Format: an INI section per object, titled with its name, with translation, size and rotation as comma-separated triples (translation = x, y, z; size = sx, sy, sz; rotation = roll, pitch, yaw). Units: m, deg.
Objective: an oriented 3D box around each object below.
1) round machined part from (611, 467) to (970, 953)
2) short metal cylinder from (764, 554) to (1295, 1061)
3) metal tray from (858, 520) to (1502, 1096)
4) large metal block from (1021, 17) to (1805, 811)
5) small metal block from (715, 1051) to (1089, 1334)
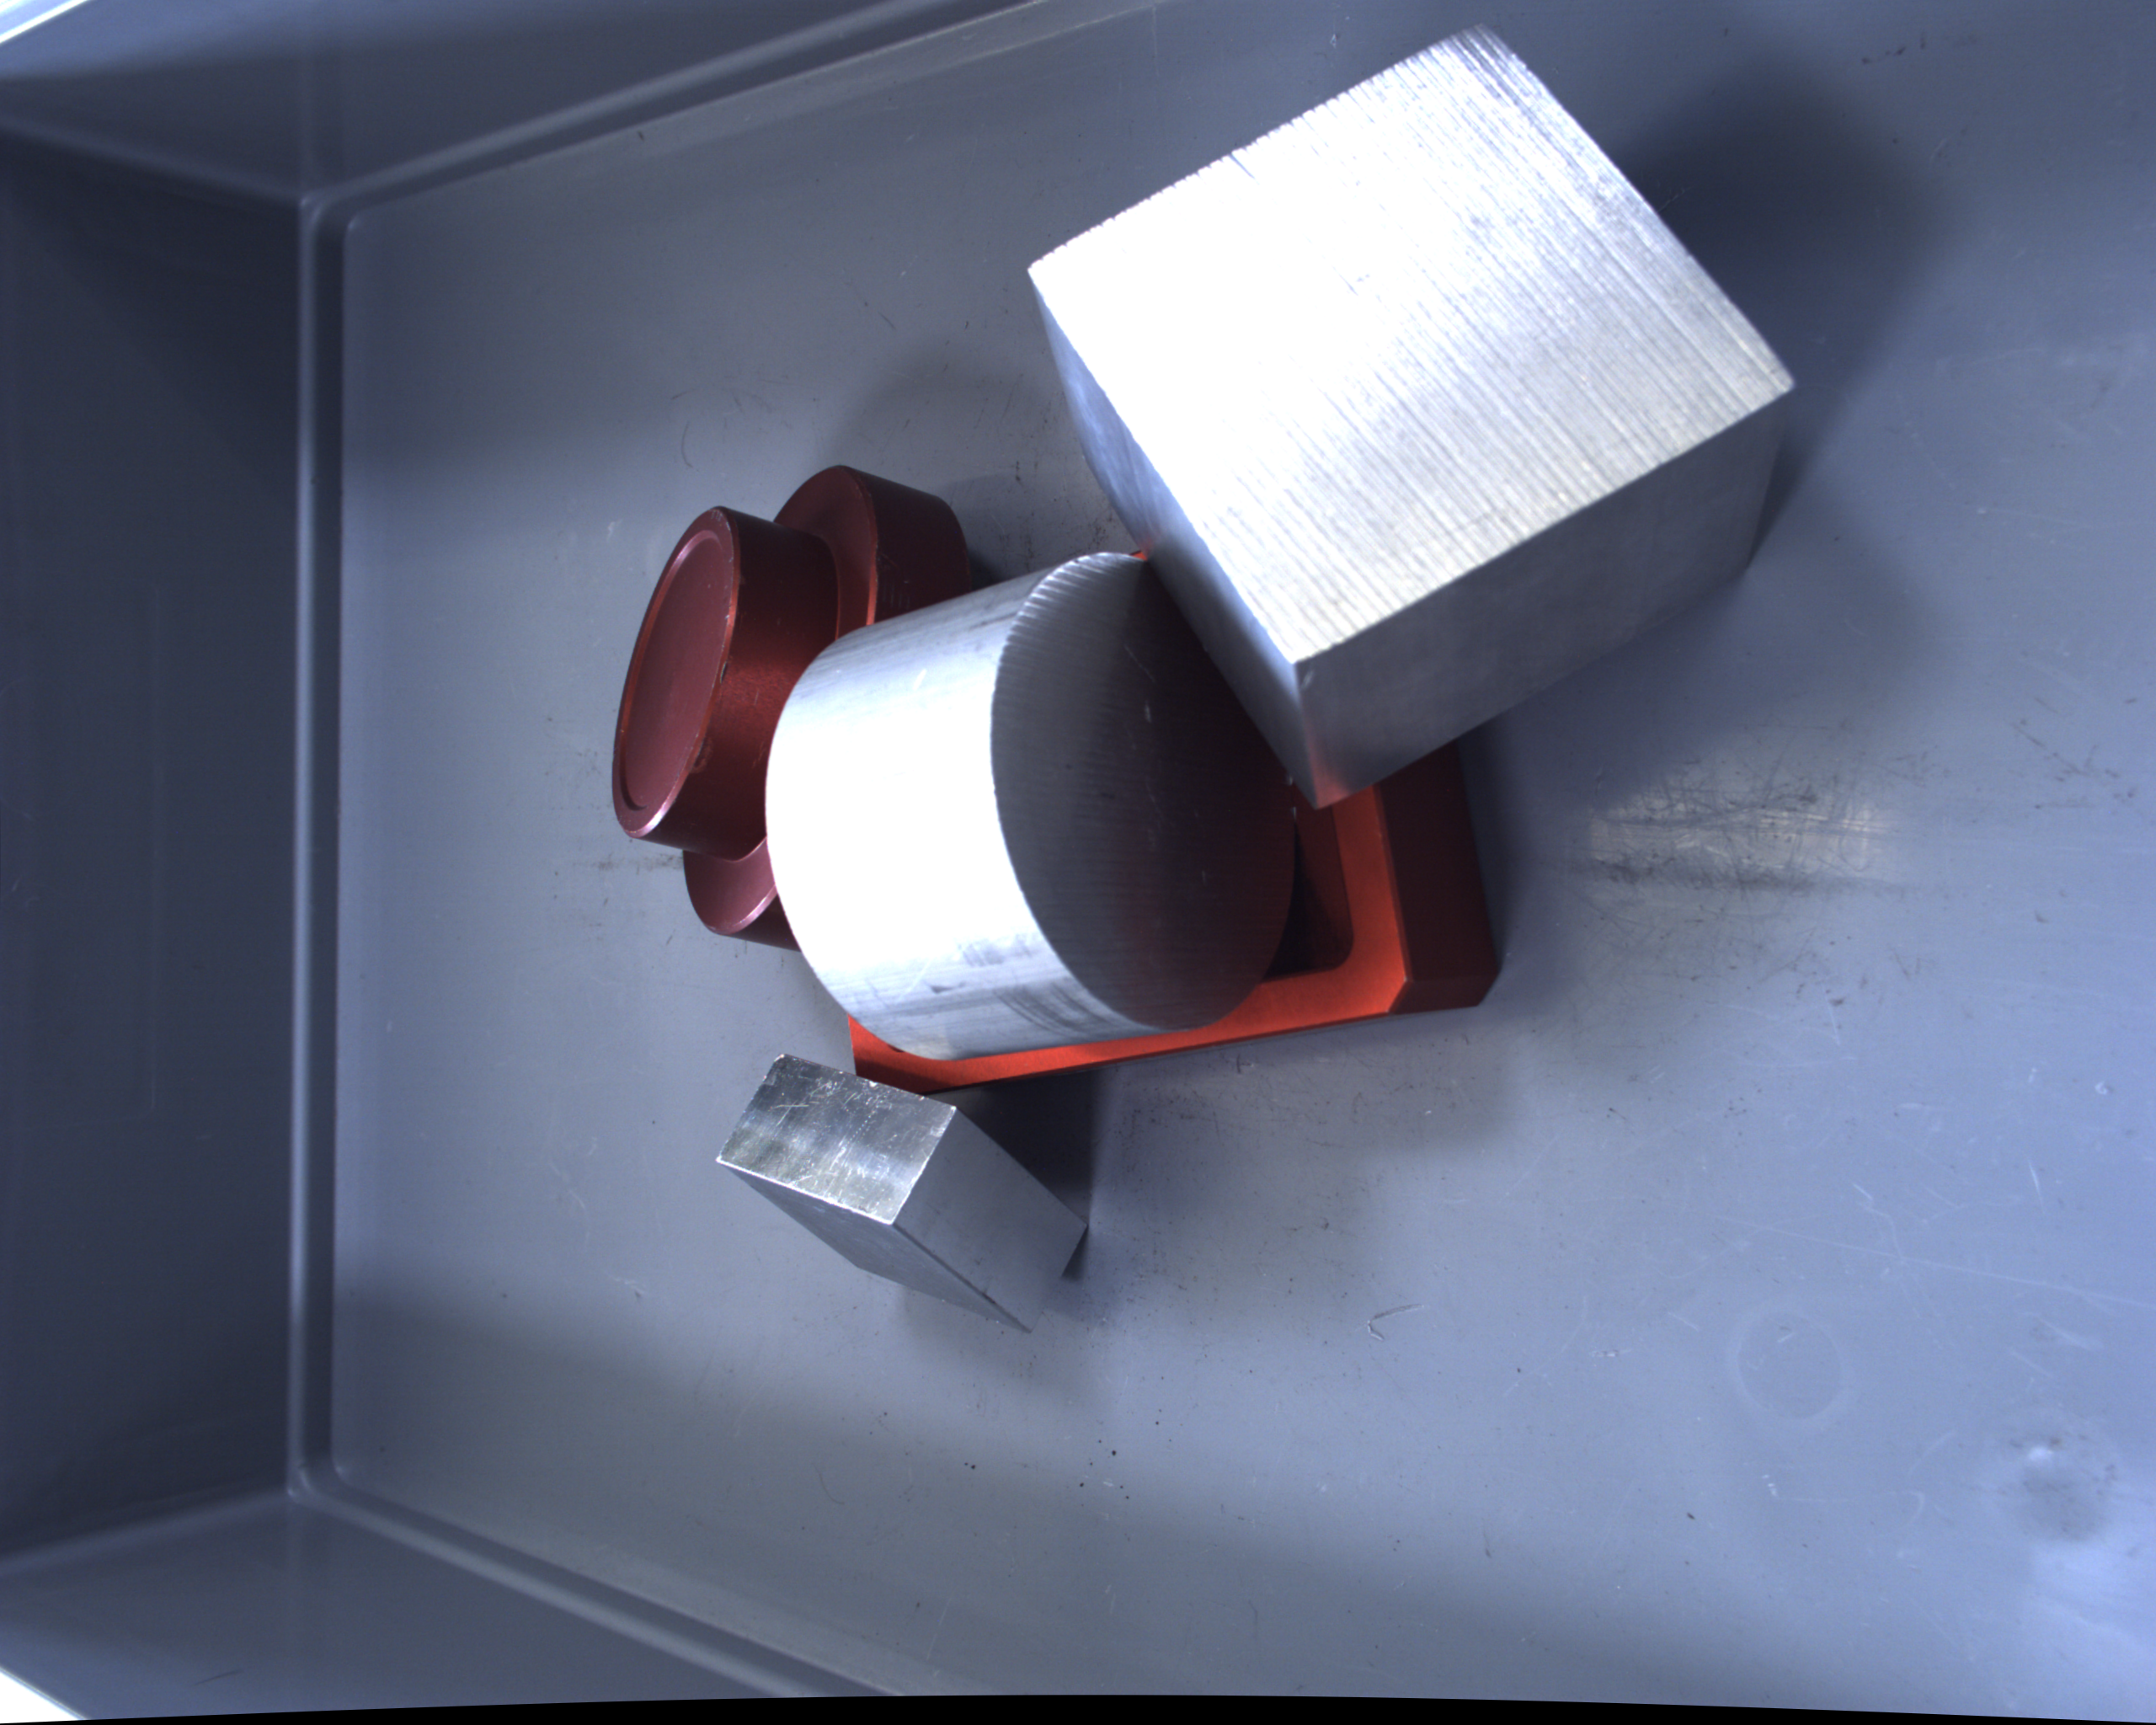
[round machined part]
translation = -0.063, -0.033, 0.420
size = 0.098, 0.042, 0.098
rotation = -40, 42, 50
[short metal cylinder]
translation = -0.006, -0.008, 0.358
size = 0.050, 0.081, 0.080
rotation = -11, 83, 39
[metal tray]
translation = 0.009, -0.007, 0.395
size = 0.130, 0.030, 0.090
rotation = -14, 81, 39
[large metal block]
translation = 0.049, -0.068, 0.322
size = 0.080, 0.050, 0.080
rotation = -30, 67, -3
[small metal block]
translation = -0.034, 0.065, 0.414
size = 0.050, 0.050, 0.025
rotation = 10, 63, 40
